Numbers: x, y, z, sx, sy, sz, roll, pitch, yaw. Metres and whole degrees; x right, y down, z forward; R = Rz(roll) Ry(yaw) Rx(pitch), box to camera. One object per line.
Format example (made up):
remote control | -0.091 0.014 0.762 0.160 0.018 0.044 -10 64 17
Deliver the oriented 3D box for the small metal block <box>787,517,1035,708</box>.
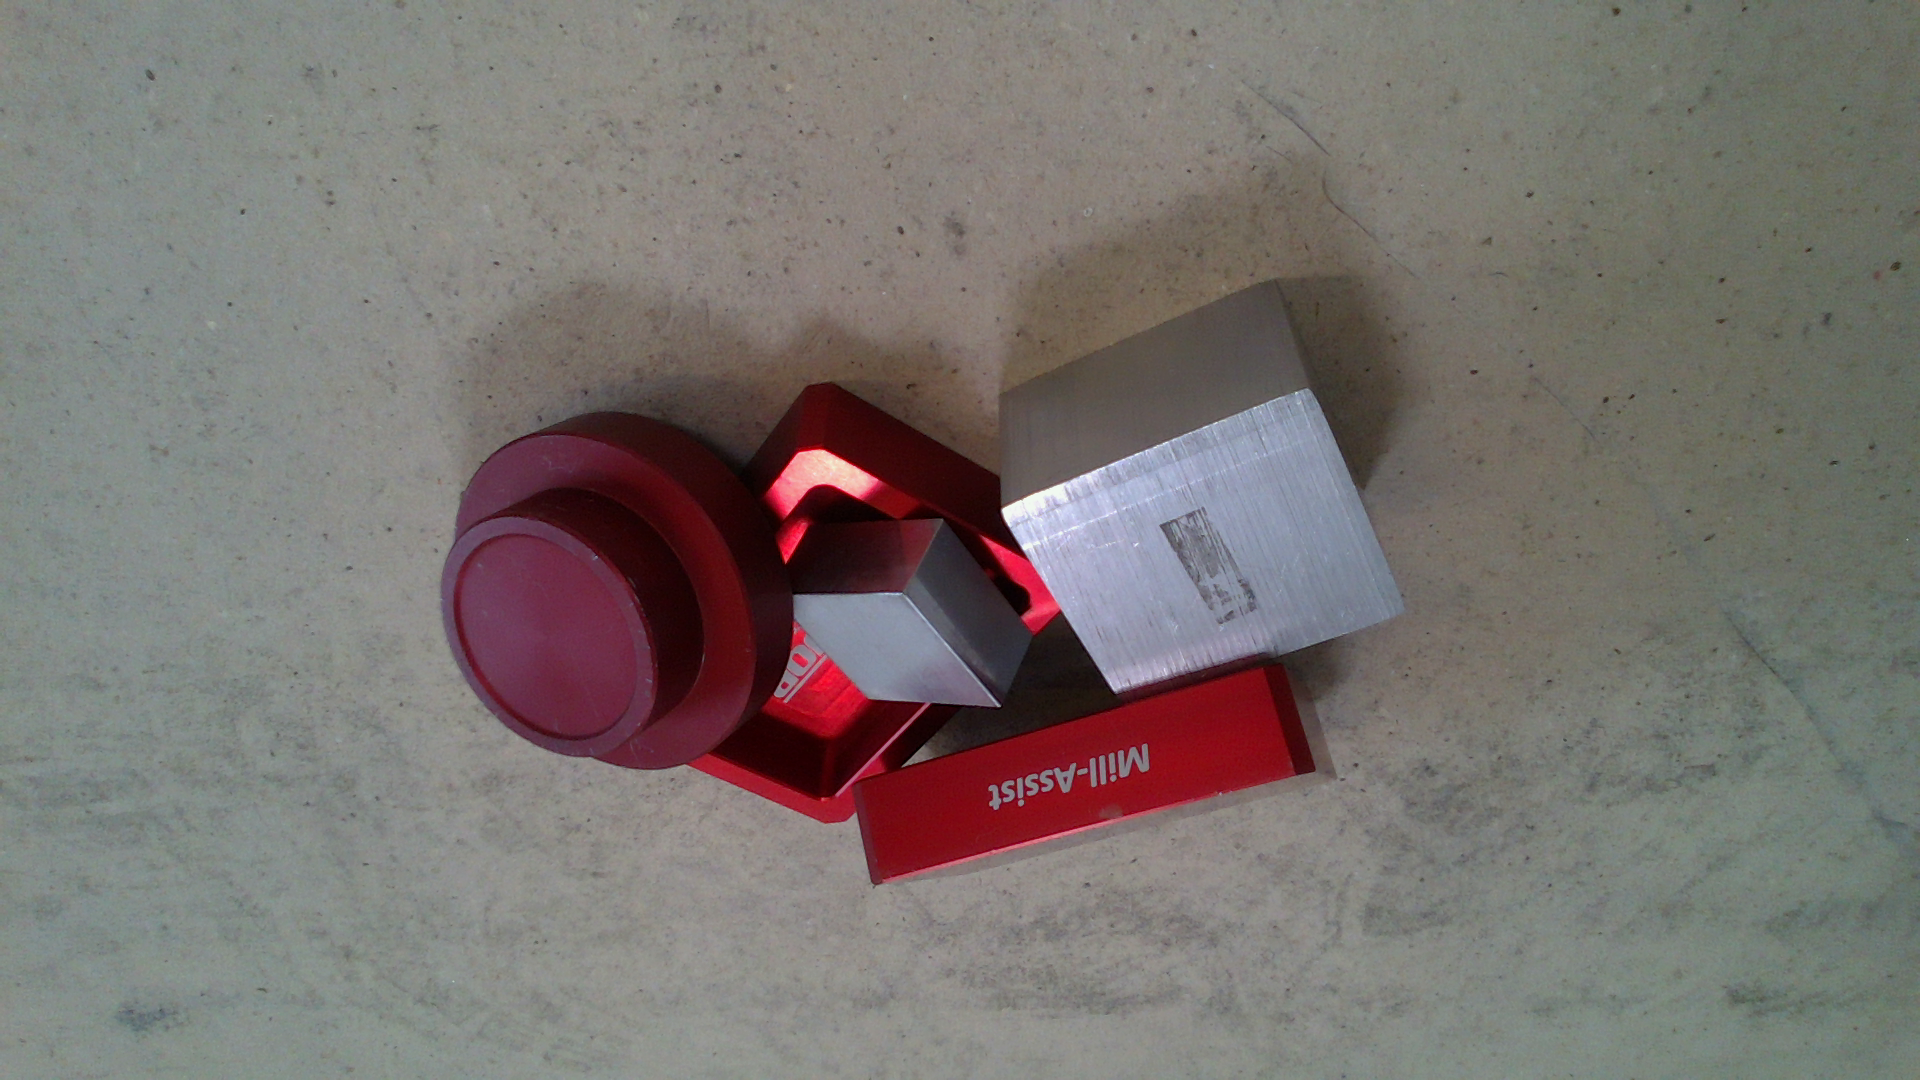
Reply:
small metal block | -0.016 0.020 0.378 0.050 0.025 0.050 -2 139 40

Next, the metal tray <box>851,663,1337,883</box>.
metal tray | 0.044 0.073 0.419 0.130 0.030 0.090 -18 164 15

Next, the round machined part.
round machined part | -0.097 0.018 0.367 0.098 0.042 0.098 9 113 22

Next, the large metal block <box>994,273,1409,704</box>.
large metal block | 0.063 -0.011 0.366 0.080 0.050 0.080 -21 127 17

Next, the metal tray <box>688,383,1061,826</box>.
metal tray | -0.040 0.025 0.407 0.090 0.030 0.130 28 125 -22
